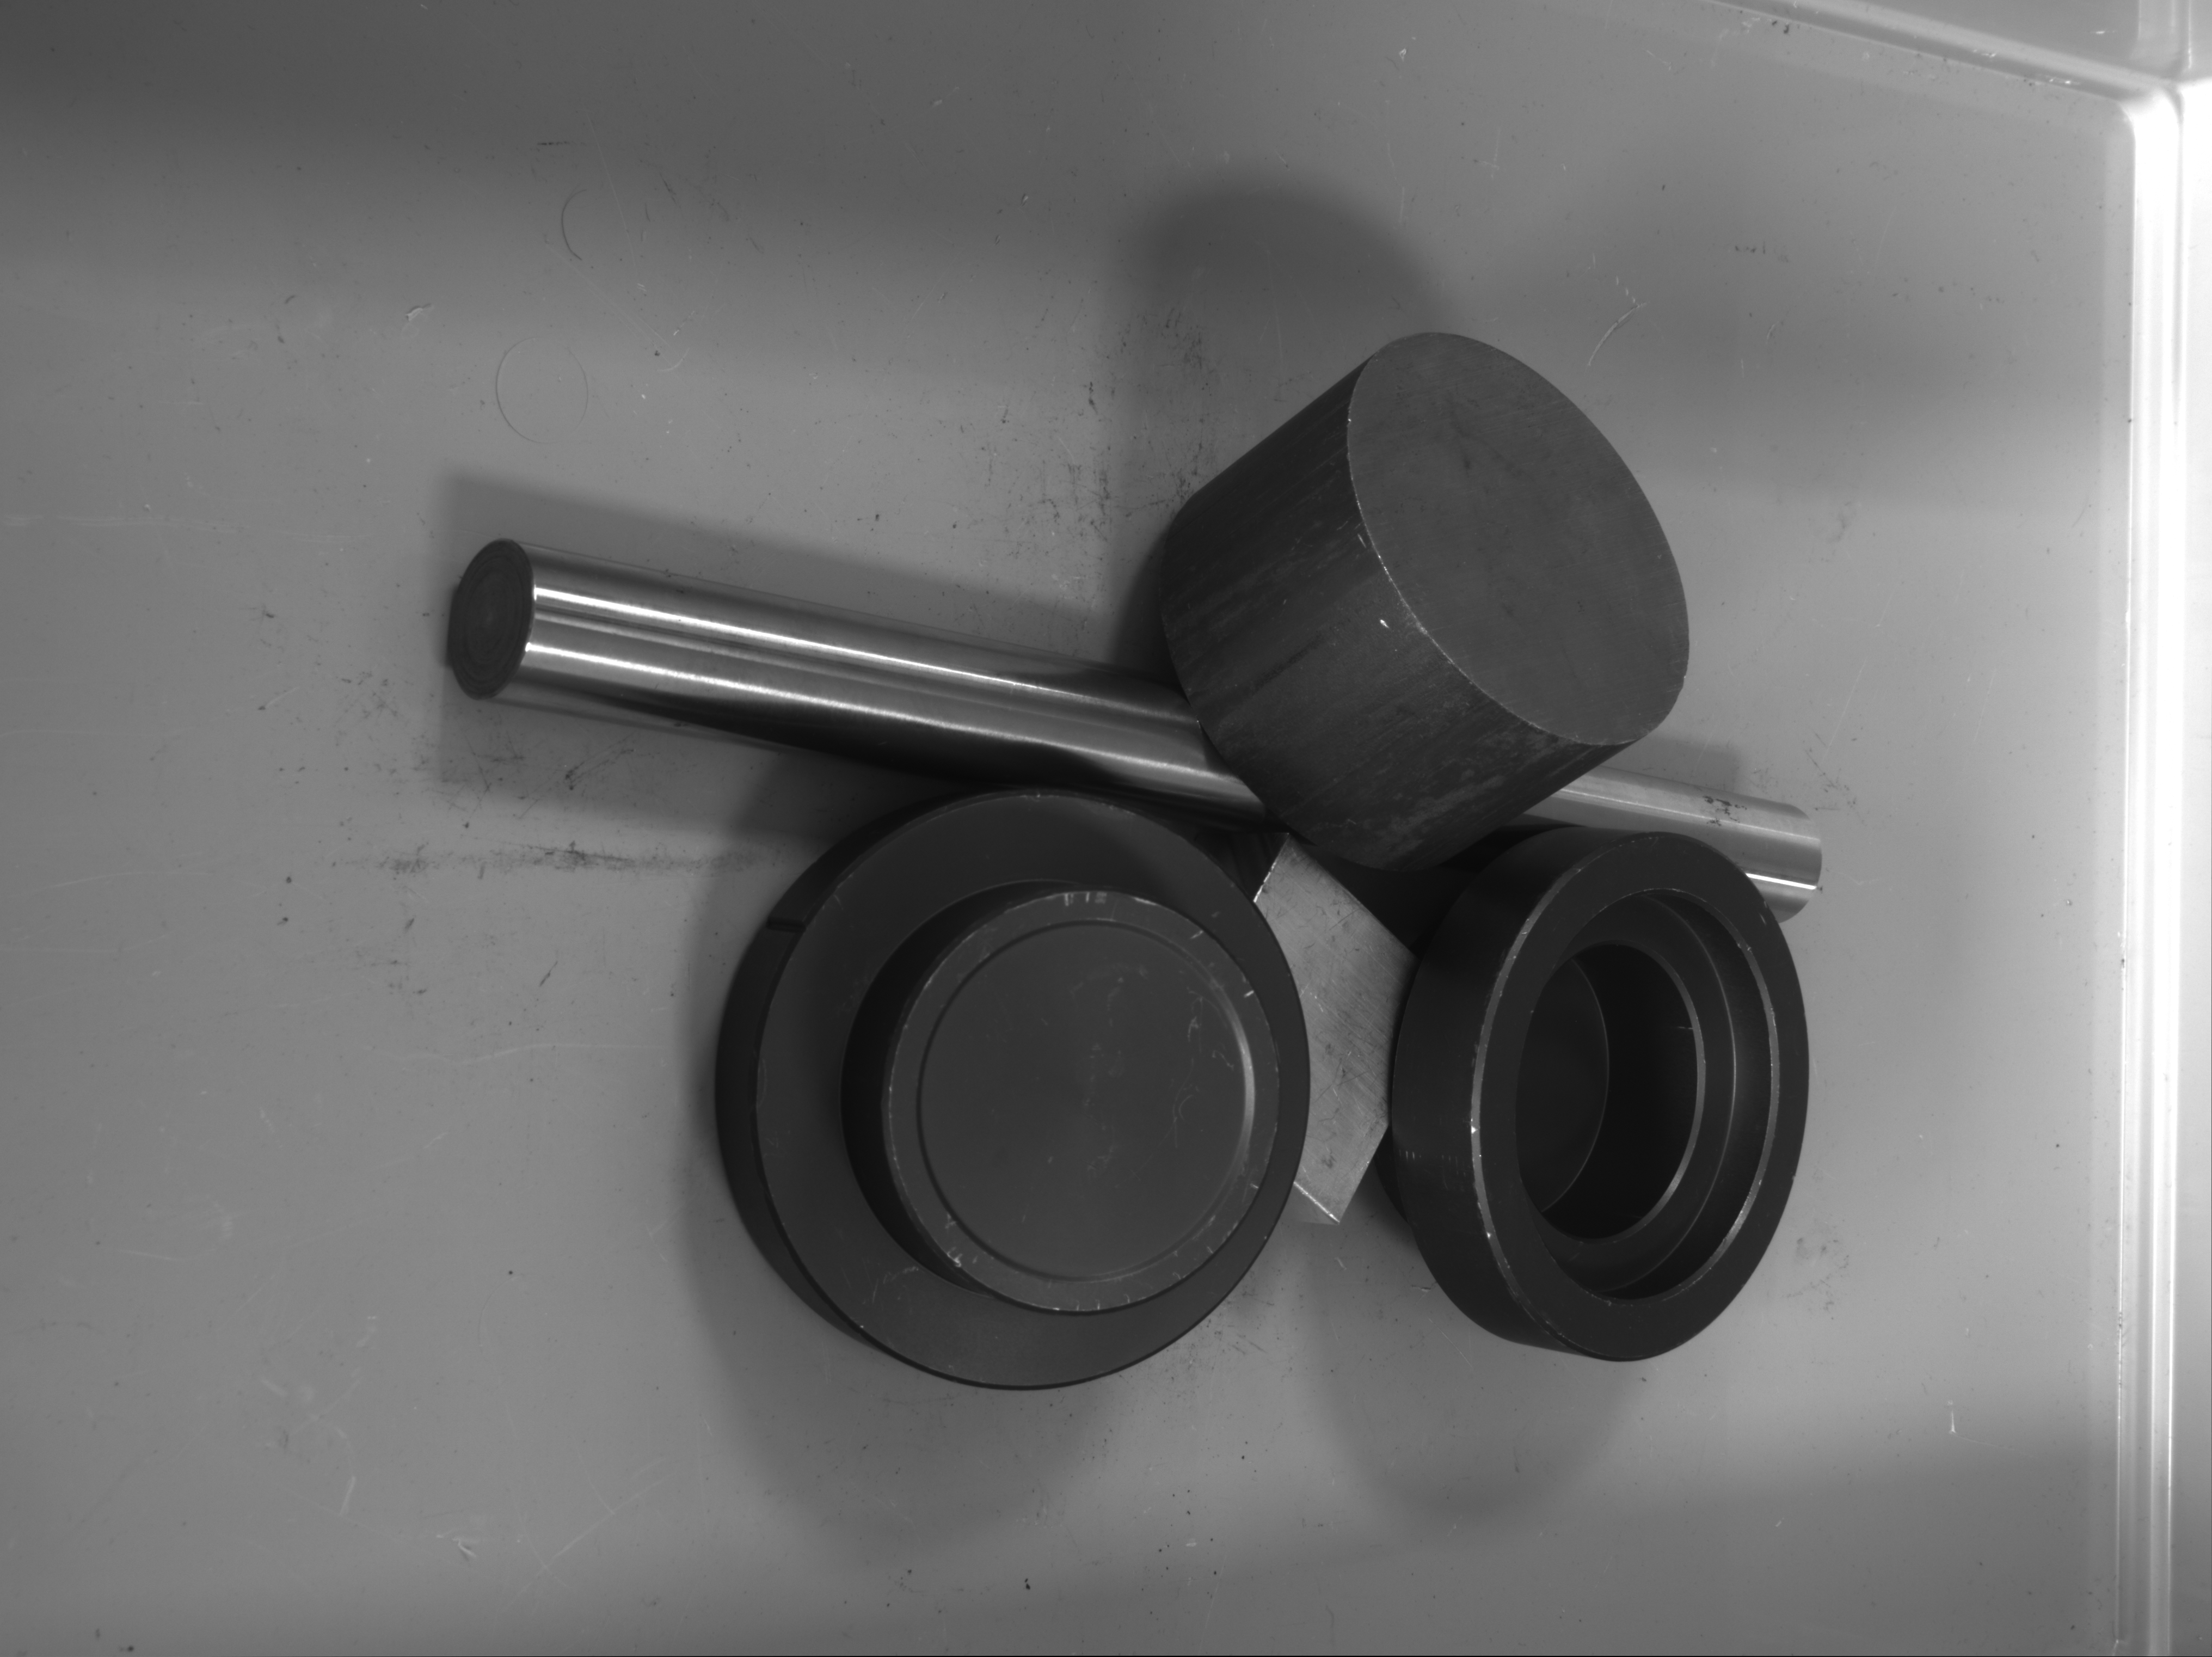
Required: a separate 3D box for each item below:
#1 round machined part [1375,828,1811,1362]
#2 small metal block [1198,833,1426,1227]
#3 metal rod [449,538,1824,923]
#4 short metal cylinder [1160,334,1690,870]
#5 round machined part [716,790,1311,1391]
[{"bbox_3d":[0.087,0.049,0.693,0.098,0.042,0.098,-3,94,-42],"label":"round machined part"},{"bbox_3d":[0.029,0.036,0.659,0.050,0.025,0.050,44,64,-31],"label":"small metal block"},{"bbox_3d":[0.021,-0.012,0.653,0.301,0.025,0.025,10,84,-39],"label":"metal rod"},{"bbox_3d":[0.056,-0.039,0.646,0.080,0.050,0.080,23,50,-31],"label":"short metal cylinder"},{"bbox_3d":[-0.011,0.043,0.598,0.098,0.042,0.098,0,91,-22],"label":"round machined part"}]
